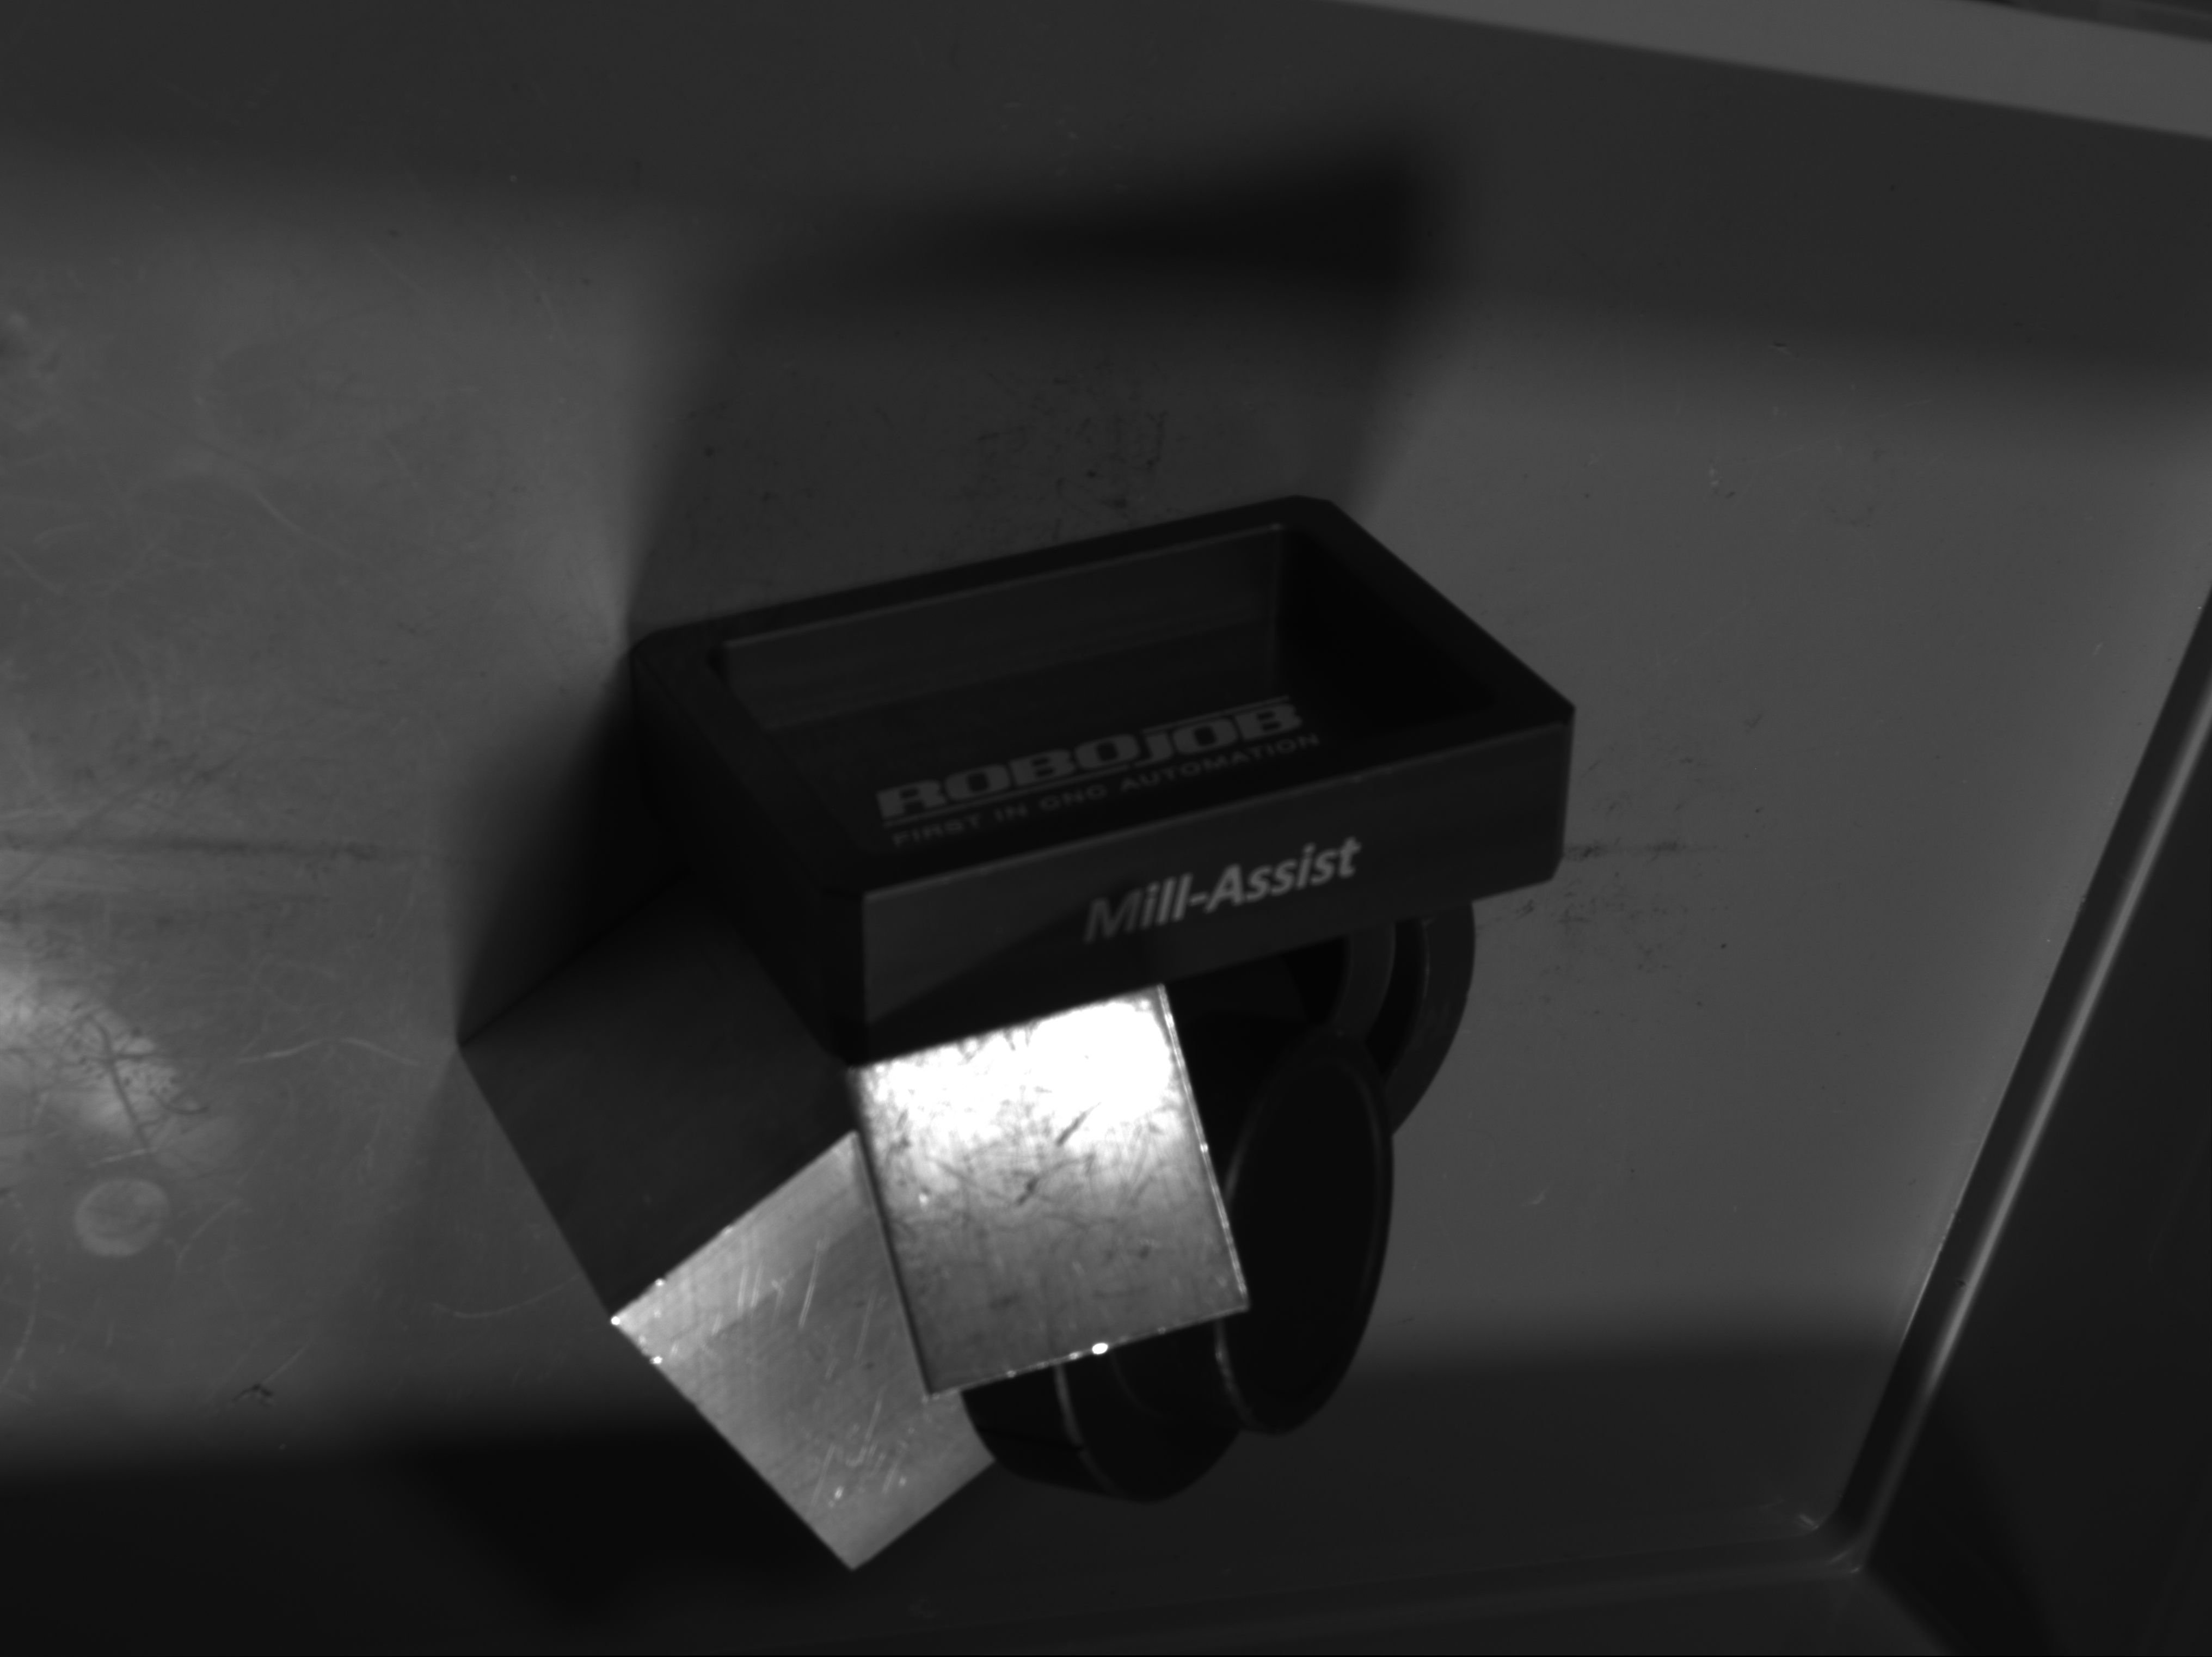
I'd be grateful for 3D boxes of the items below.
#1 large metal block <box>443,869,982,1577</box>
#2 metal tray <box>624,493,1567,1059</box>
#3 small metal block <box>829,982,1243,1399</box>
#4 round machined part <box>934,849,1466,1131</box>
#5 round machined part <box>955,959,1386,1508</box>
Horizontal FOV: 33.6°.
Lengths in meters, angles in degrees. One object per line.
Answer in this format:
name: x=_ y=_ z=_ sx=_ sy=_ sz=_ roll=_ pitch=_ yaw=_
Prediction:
large metal block: x=-0.058 y=0.066 z=0.621 sx=0.050 sy=0.080 sz=0.080 roll=-38 pitch=130 yaw=-5
metal tray: x=-0.003 y=-0.012 z=0.597 sx=0.130 sy=0.090 sz=0.030 roll=-14 pitch=125 yaw=-22
small metal block: x=-0.011 y=0.055 z=0.556 sx=0.050 sy=0.025 sz=0.050 roll=-15 pitch=87 yaw=-7
round machined part: x=0.013 y=0.024 z=0.662 sx=0.098 sy=0.042 sz=0.098 roll=-15 pitch=125 yaw=-22
round machined part: x=0.014 y=0.065 z=0.611 sx=0.098 sy=0.042 sz=0.098 roll=-23 pitch=116 yaw=-60
